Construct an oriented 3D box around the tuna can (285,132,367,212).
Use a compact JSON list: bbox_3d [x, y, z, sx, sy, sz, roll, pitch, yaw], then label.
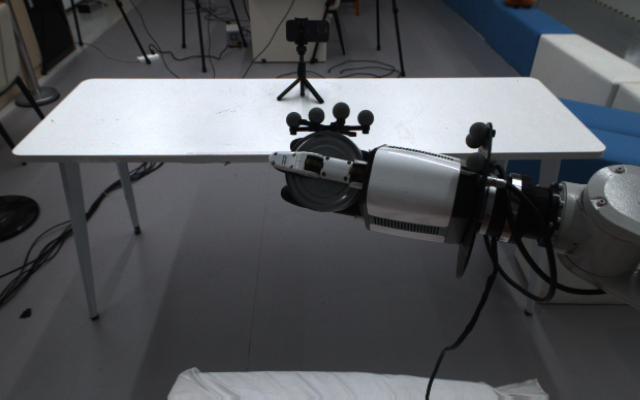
[{"bbox_3d":[0.009,-0.030,0.524,0.085,0.085,0.034,12,0,14],"label":"tuna can"}]
